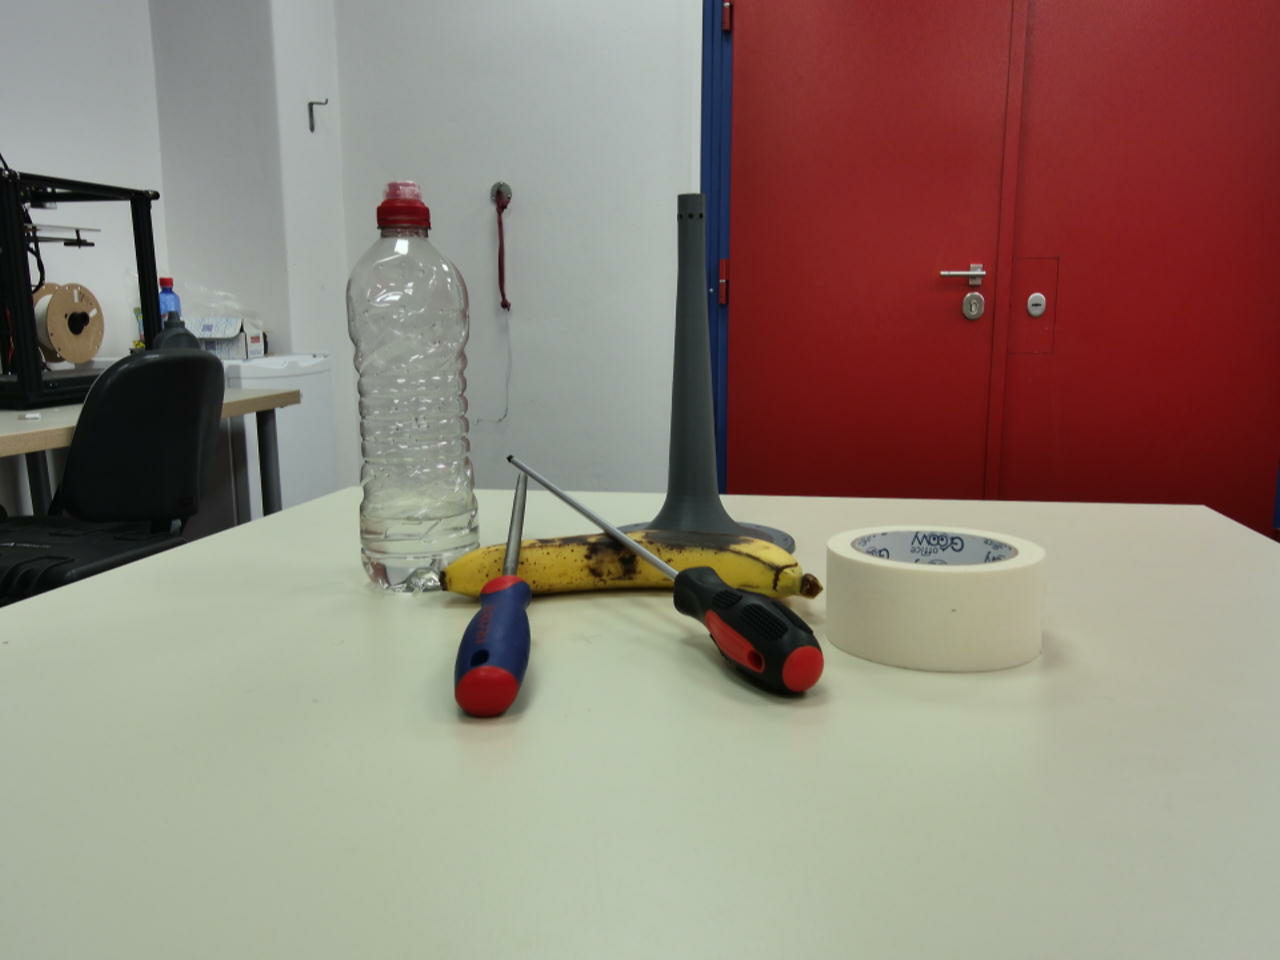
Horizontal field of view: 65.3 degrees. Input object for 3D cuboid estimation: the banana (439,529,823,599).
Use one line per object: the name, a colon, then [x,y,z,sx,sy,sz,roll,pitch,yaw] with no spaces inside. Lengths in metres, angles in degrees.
banana: [-0.003,0.052,0.599,0.222,0.037,0.084,1,7,12]
